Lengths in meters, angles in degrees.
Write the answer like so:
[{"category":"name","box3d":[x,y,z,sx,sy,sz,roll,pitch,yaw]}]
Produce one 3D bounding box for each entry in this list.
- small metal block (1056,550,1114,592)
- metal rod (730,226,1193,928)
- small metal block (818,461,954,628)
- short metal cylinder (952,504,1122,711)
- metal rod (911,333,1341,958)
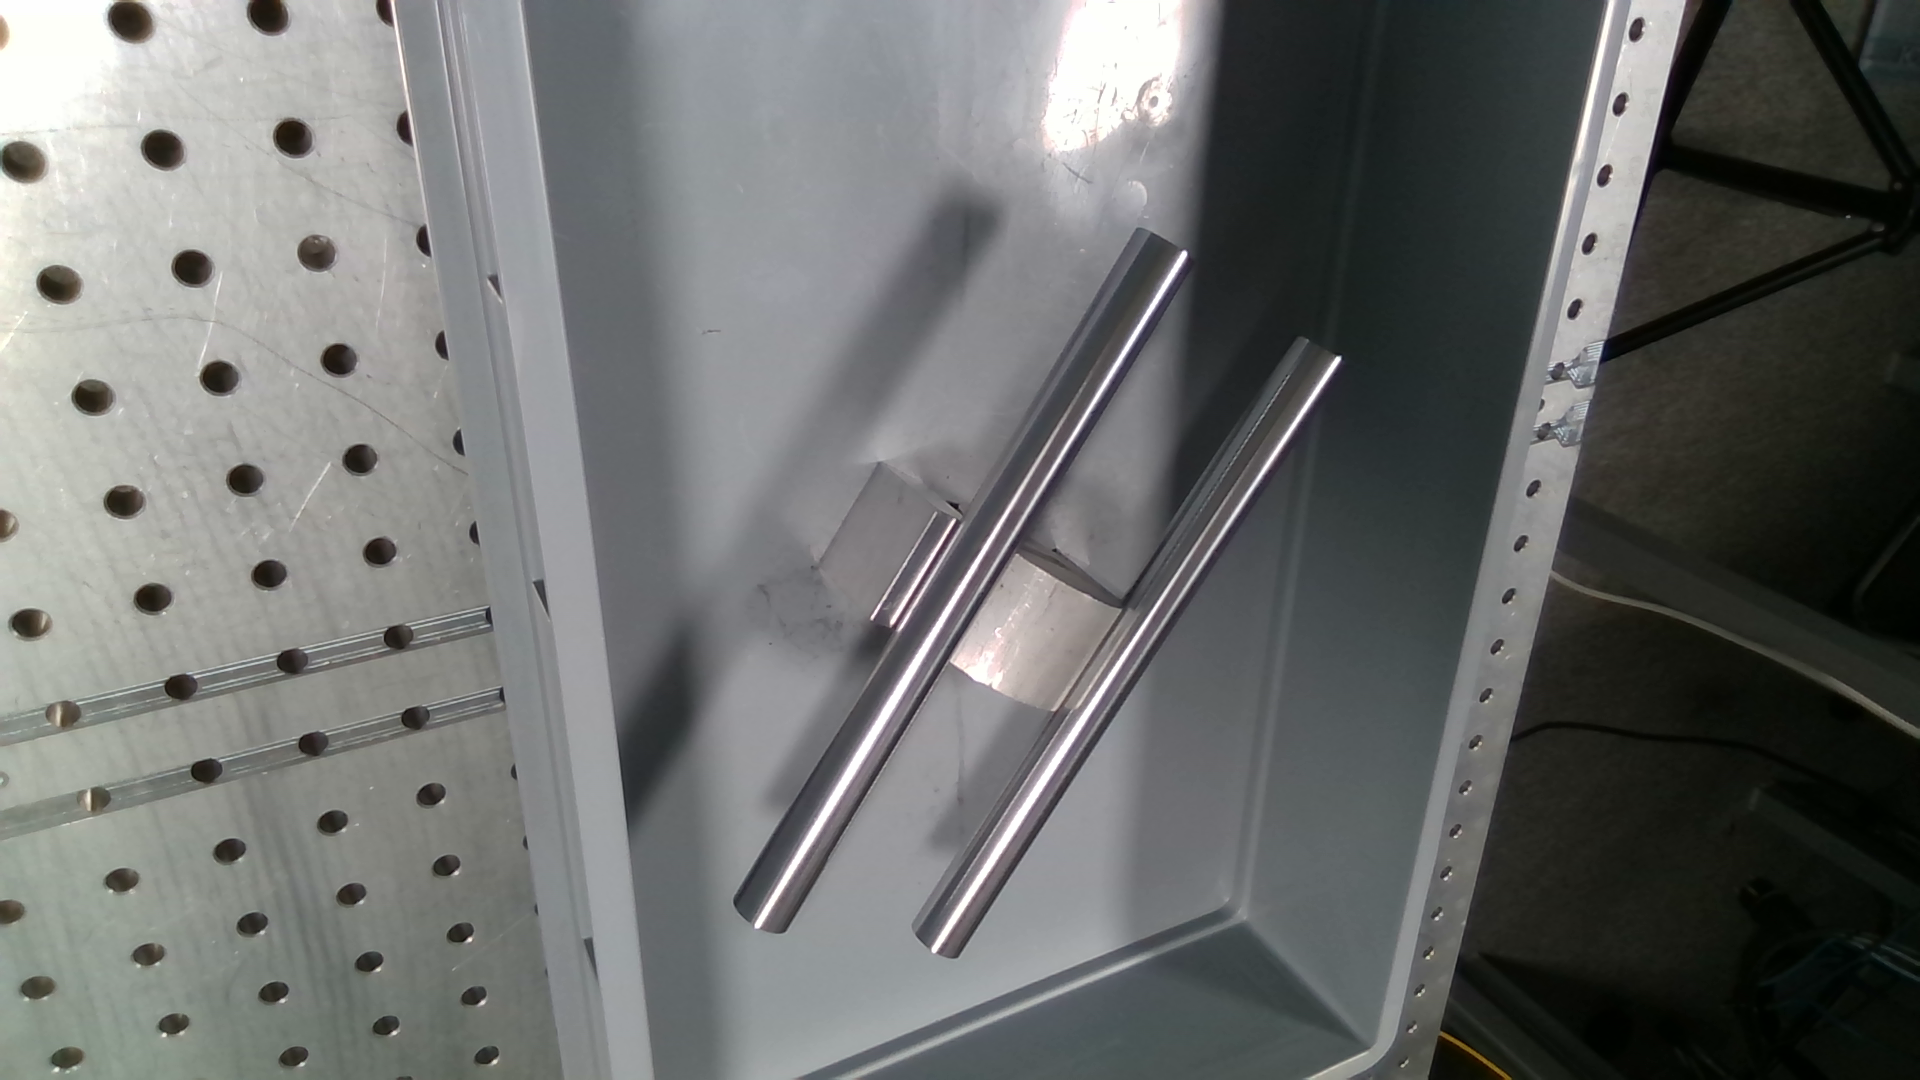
[{"category":"small metal block","box3d":[0.051,0.040,0.615,0.025,0.050,0.050,26,99,-38]},{"category":"metal rod","box3d":[-0.003,0.019,0.525,0.025,0.025,0.300,25,100,-38]},{"category":"small metal block","box3d":[-0.025,0.004,0.550,0.025,0.050,0.050,26,99,-38]},{"category":"short metal cylinder","box3d":[0.020,0.027,0.571,0.080,0.080,0.050,26,100,-38]},{"category":"metal rod","box3d":[0.067,0.048,0.582,0.025,0.025,0.300,25,100,-38]}]
